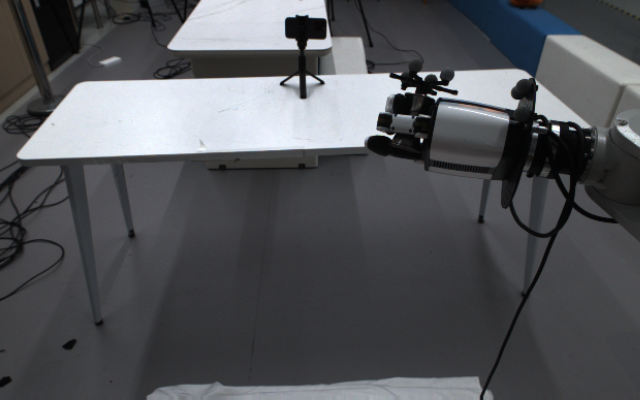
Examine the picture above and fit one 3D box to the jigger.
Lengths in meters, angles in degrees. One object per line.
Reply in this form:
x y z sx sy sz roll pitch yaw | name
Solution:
0.115 -0.101 0.621 0.043 0.071 0.043 16 2 -1 | jigger
